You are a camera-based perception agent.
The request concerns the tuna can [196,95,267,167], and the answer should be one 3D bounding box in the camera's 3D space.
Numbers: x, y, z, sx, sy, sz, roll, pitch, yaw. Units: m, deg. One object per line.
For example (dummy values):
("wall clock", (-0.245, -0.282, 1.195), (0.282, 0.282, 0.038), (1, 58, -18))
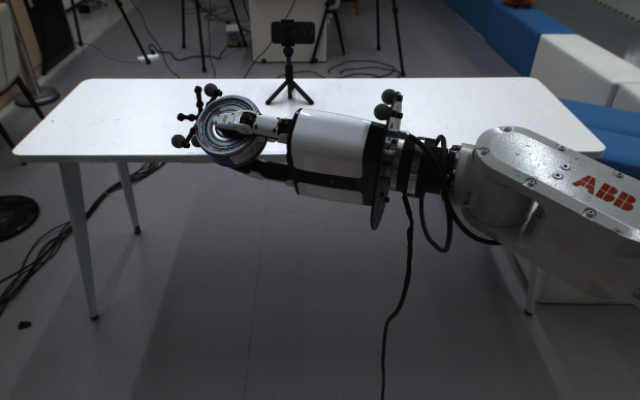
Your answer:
("tuna can", (-0.108, -0.088, 0.602), (0.085, 0.034, 0.085), (-3, 70, 9))
